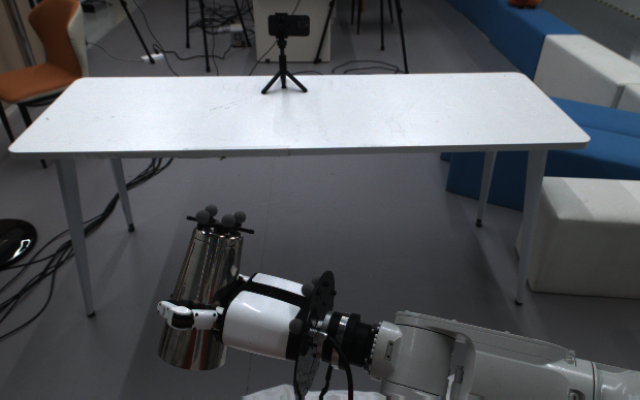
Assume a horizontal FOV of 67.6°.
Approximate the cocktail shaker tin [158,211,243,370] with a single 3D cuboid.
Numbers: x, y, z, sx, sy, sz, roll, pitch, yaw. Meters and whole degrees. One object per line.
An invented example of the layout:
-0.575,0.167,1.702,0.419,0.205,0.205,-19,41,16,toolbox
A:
-0.150,0.124,0.639,0.093,0.170,0.093,13,5,-1,cocktail shaker tin
